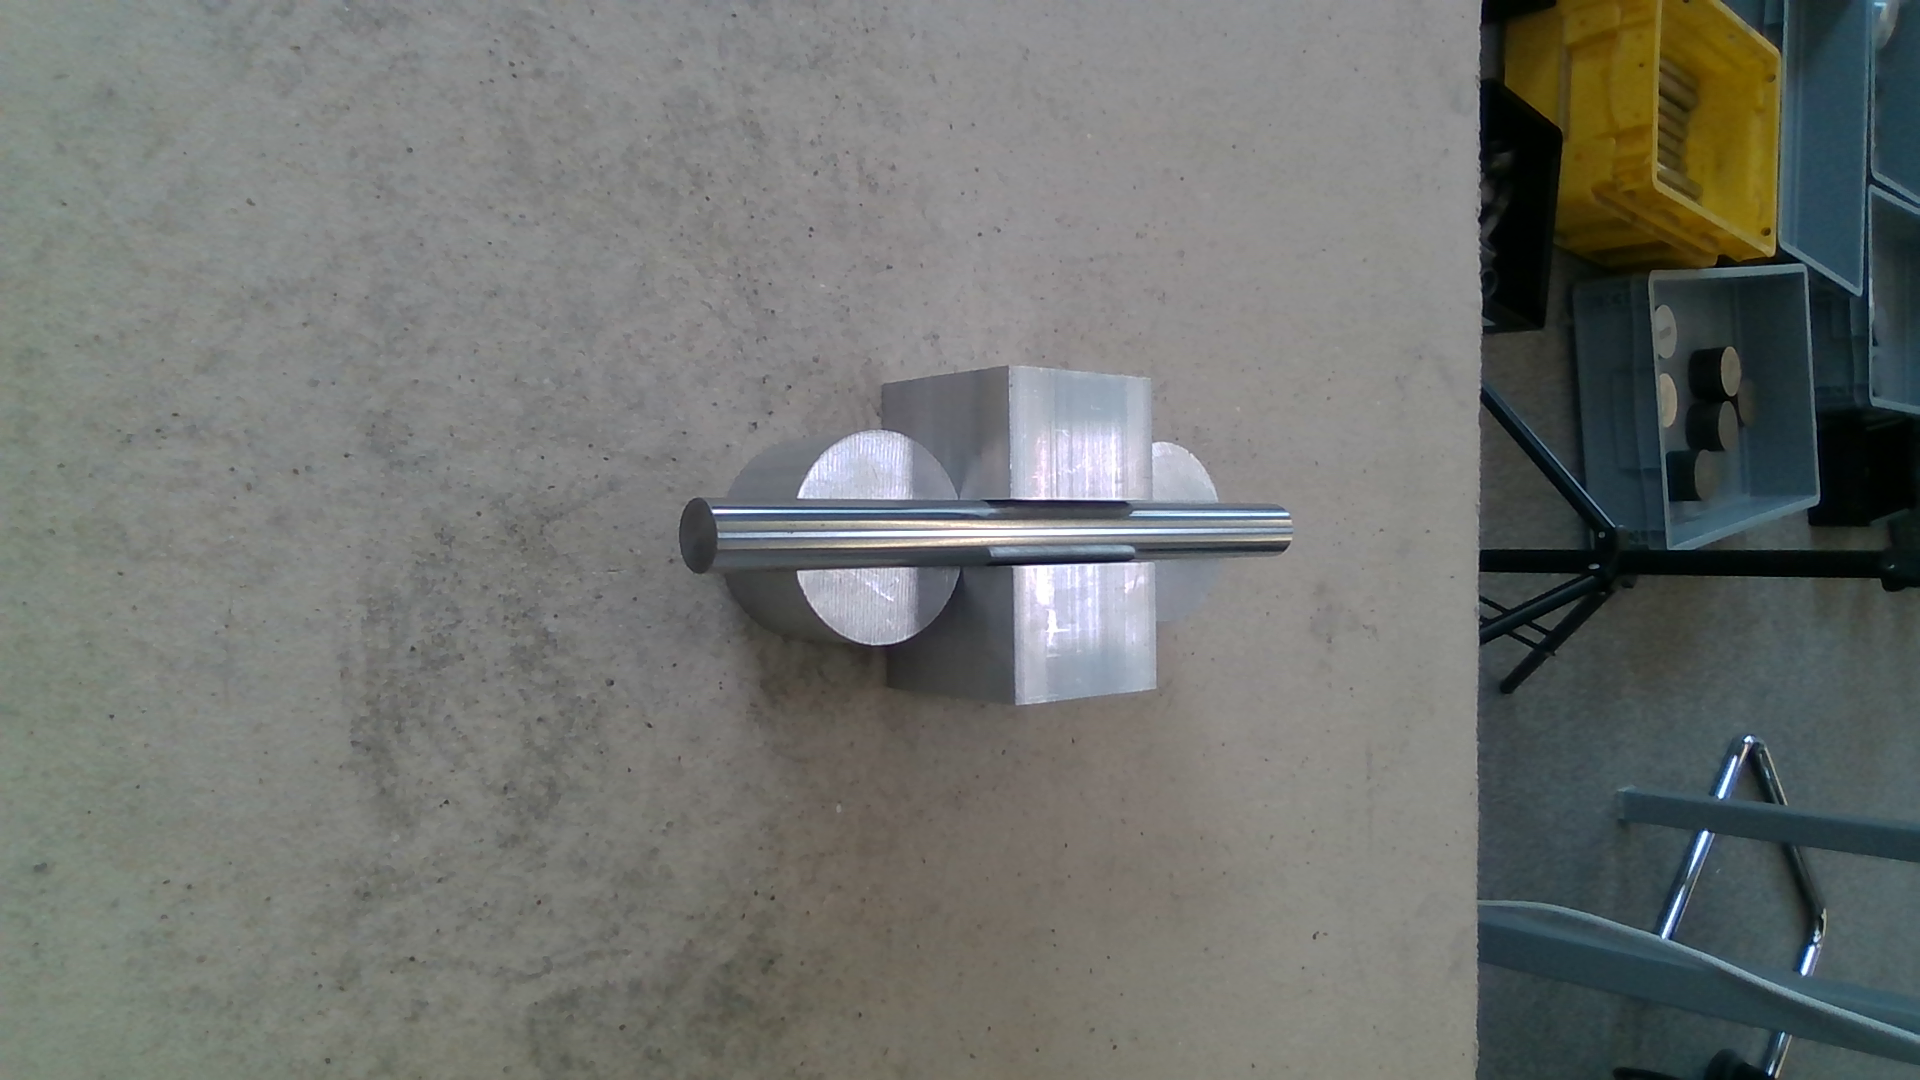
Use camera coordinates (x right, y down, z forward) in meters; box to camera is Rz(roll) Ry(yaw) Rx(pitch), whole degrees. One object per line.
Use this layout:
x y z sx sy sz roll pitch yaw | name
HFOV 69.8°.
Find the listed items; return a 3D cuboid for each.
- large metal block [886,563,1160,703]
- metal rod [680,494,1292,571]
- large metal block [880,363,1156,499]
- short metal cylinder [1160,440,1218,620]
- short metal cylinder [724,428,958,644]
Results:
0.025 0.035 0.569 0.080 0.080 0.050 -1 91 -41 | large metal block
0.030 -0.004 0.543 0.300 0.025 0.025 -1 91 -40 | metal rod
0.024 -0.041 0.567 0.080 0.080 0.050 -1 91 -41 | large metal block
0.075 -0.004 0.630 0.080 0.050 0.080 0 90 -41 | short metal cylinder
-0.046 -0.001 0.530 0.080 0.050 0.080 0 90 -41 | short metal cylinder
